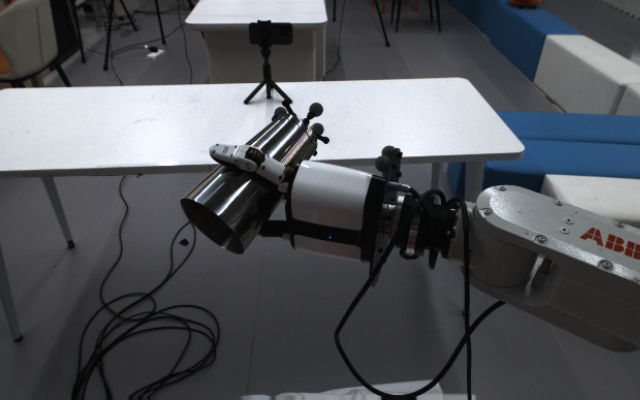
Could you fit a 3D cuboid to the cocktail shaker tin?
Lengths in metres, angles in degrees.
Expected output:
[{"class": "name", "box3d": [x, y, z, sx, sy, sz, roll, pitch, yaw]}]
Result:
[{"class": "cocktail shaker tin", "box3d": [-0.077, -0.034, 0.589, 0.093, 0.093, 0.170, 23, 57, 27]}]
